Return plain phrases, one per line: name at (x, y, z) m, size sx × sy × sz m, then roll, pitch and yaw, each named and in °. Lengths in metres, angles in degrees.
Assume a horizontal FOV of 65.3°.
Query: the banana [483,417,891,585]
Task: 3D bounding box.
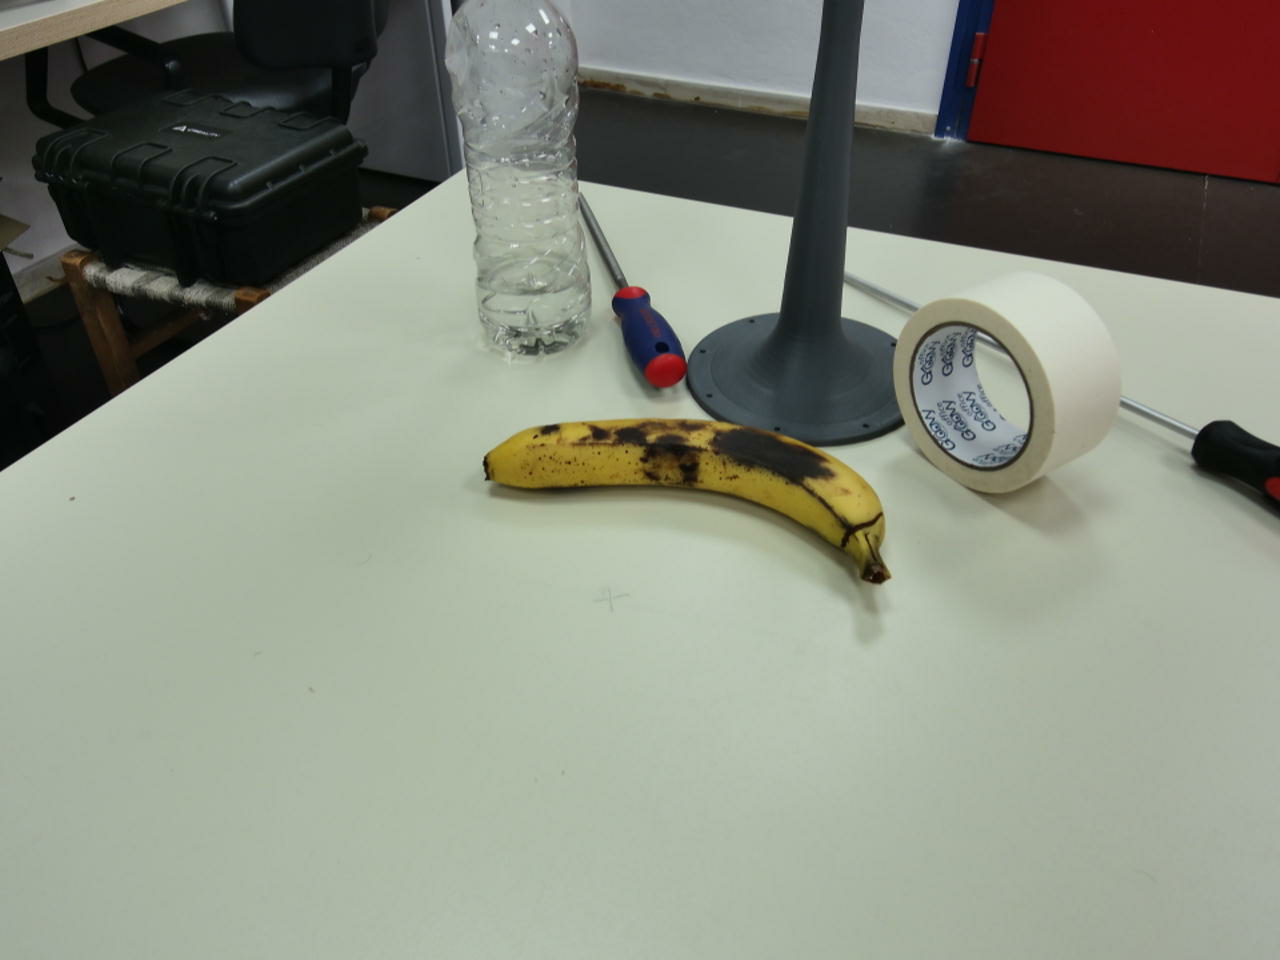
banana at (0.030, -0.003, 0.528) m, size 0.222 × 0.037 × 0.084 m, roll 16°, pitch 41°, yaw 20°
